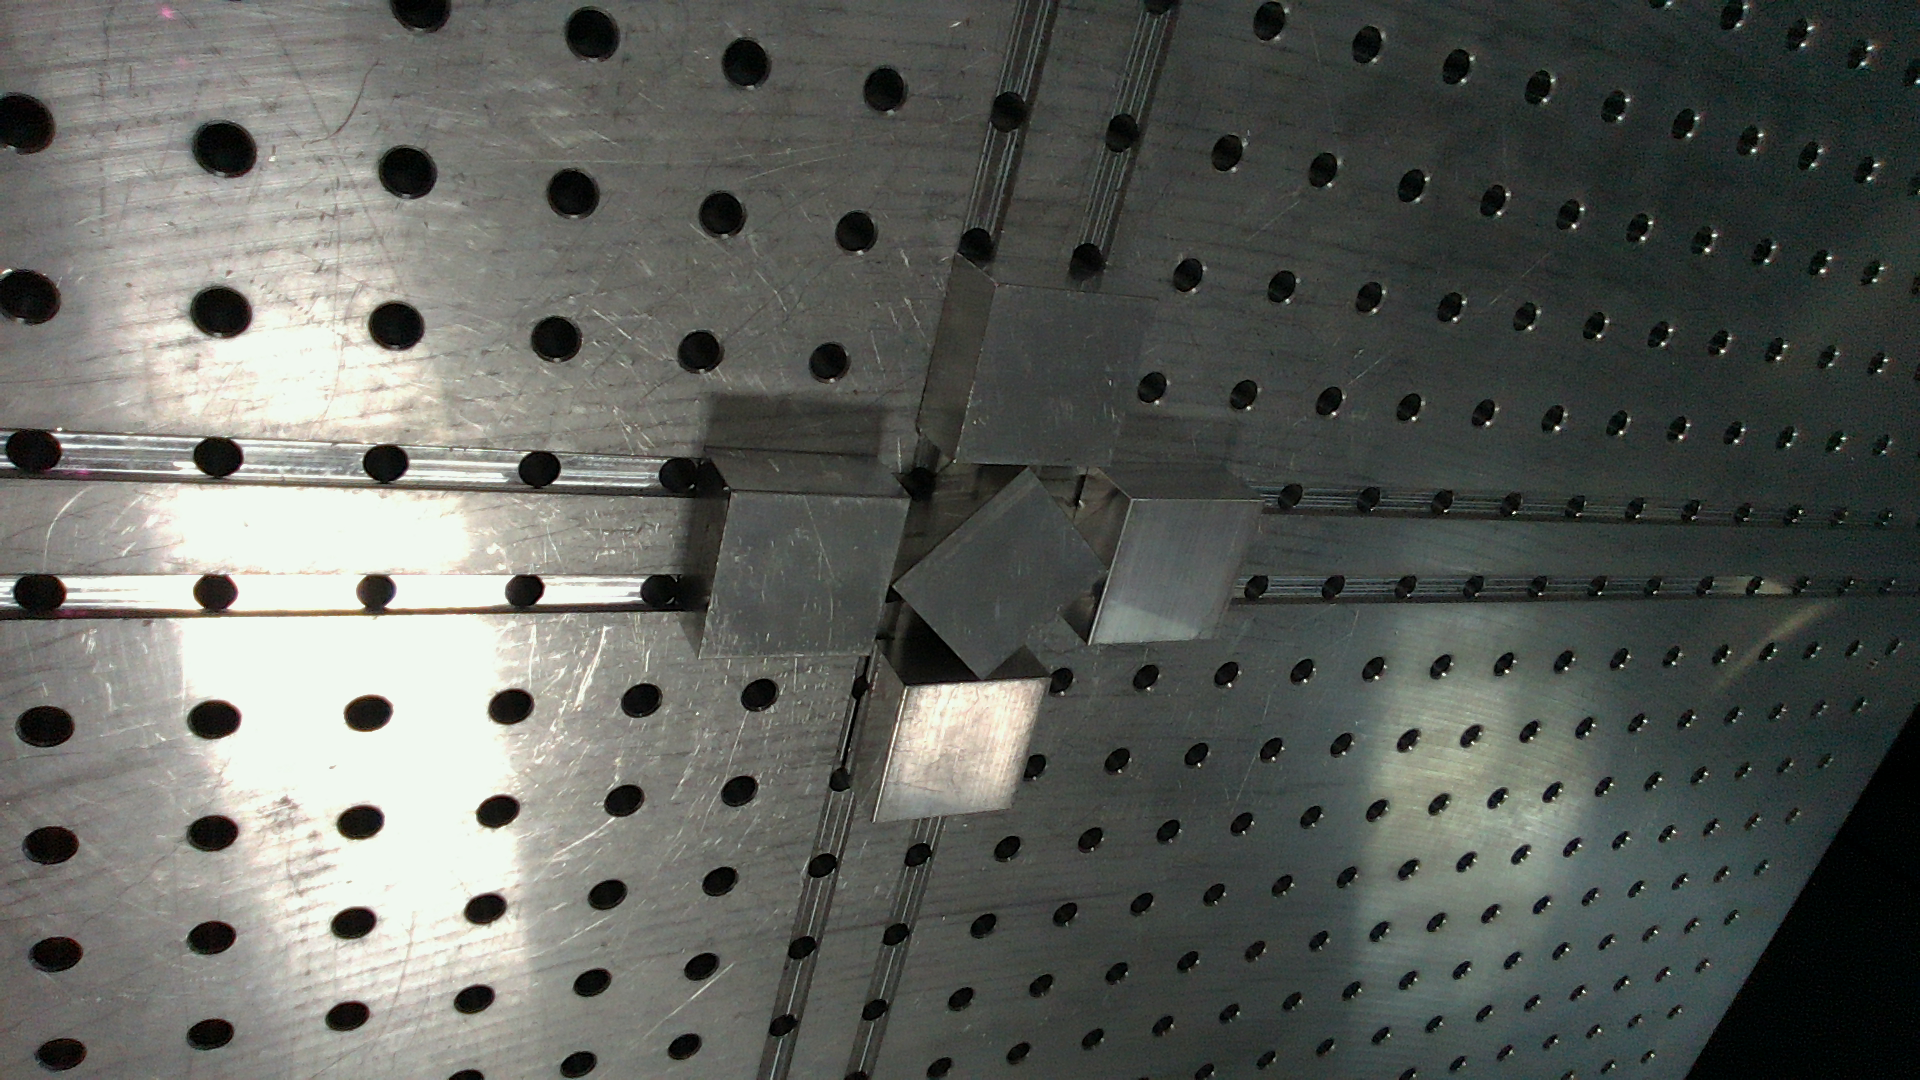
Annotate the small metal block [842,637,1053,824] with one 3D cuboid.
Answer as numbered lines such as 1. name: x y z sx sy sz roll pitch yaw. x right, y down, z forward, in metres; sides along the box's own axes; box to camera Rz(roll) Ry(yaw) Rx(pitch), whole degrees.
1. small metal block: -0.005 0.058 0.425 0.050 0.025 0.050 0 118 -28

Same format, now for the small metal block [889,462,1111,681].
1. small metal block: 0.008 0.005 0.399 0.050 0.025 0.050 -41 129 0

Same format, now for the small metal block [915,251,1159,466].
1. small metal block: 0.020 -0.048 0.373 0.050 0.025 0.050 -1 119 -28

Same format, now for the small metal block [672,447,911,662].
1. small metal block: -0.046 0.004 0.370 0.050 0.025 0.050 1 118 -29

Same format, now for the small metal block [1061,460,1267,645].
1. small metal block: 0.061 0.004 0.427 0.050 0.025 0.050 -1 119 -28
